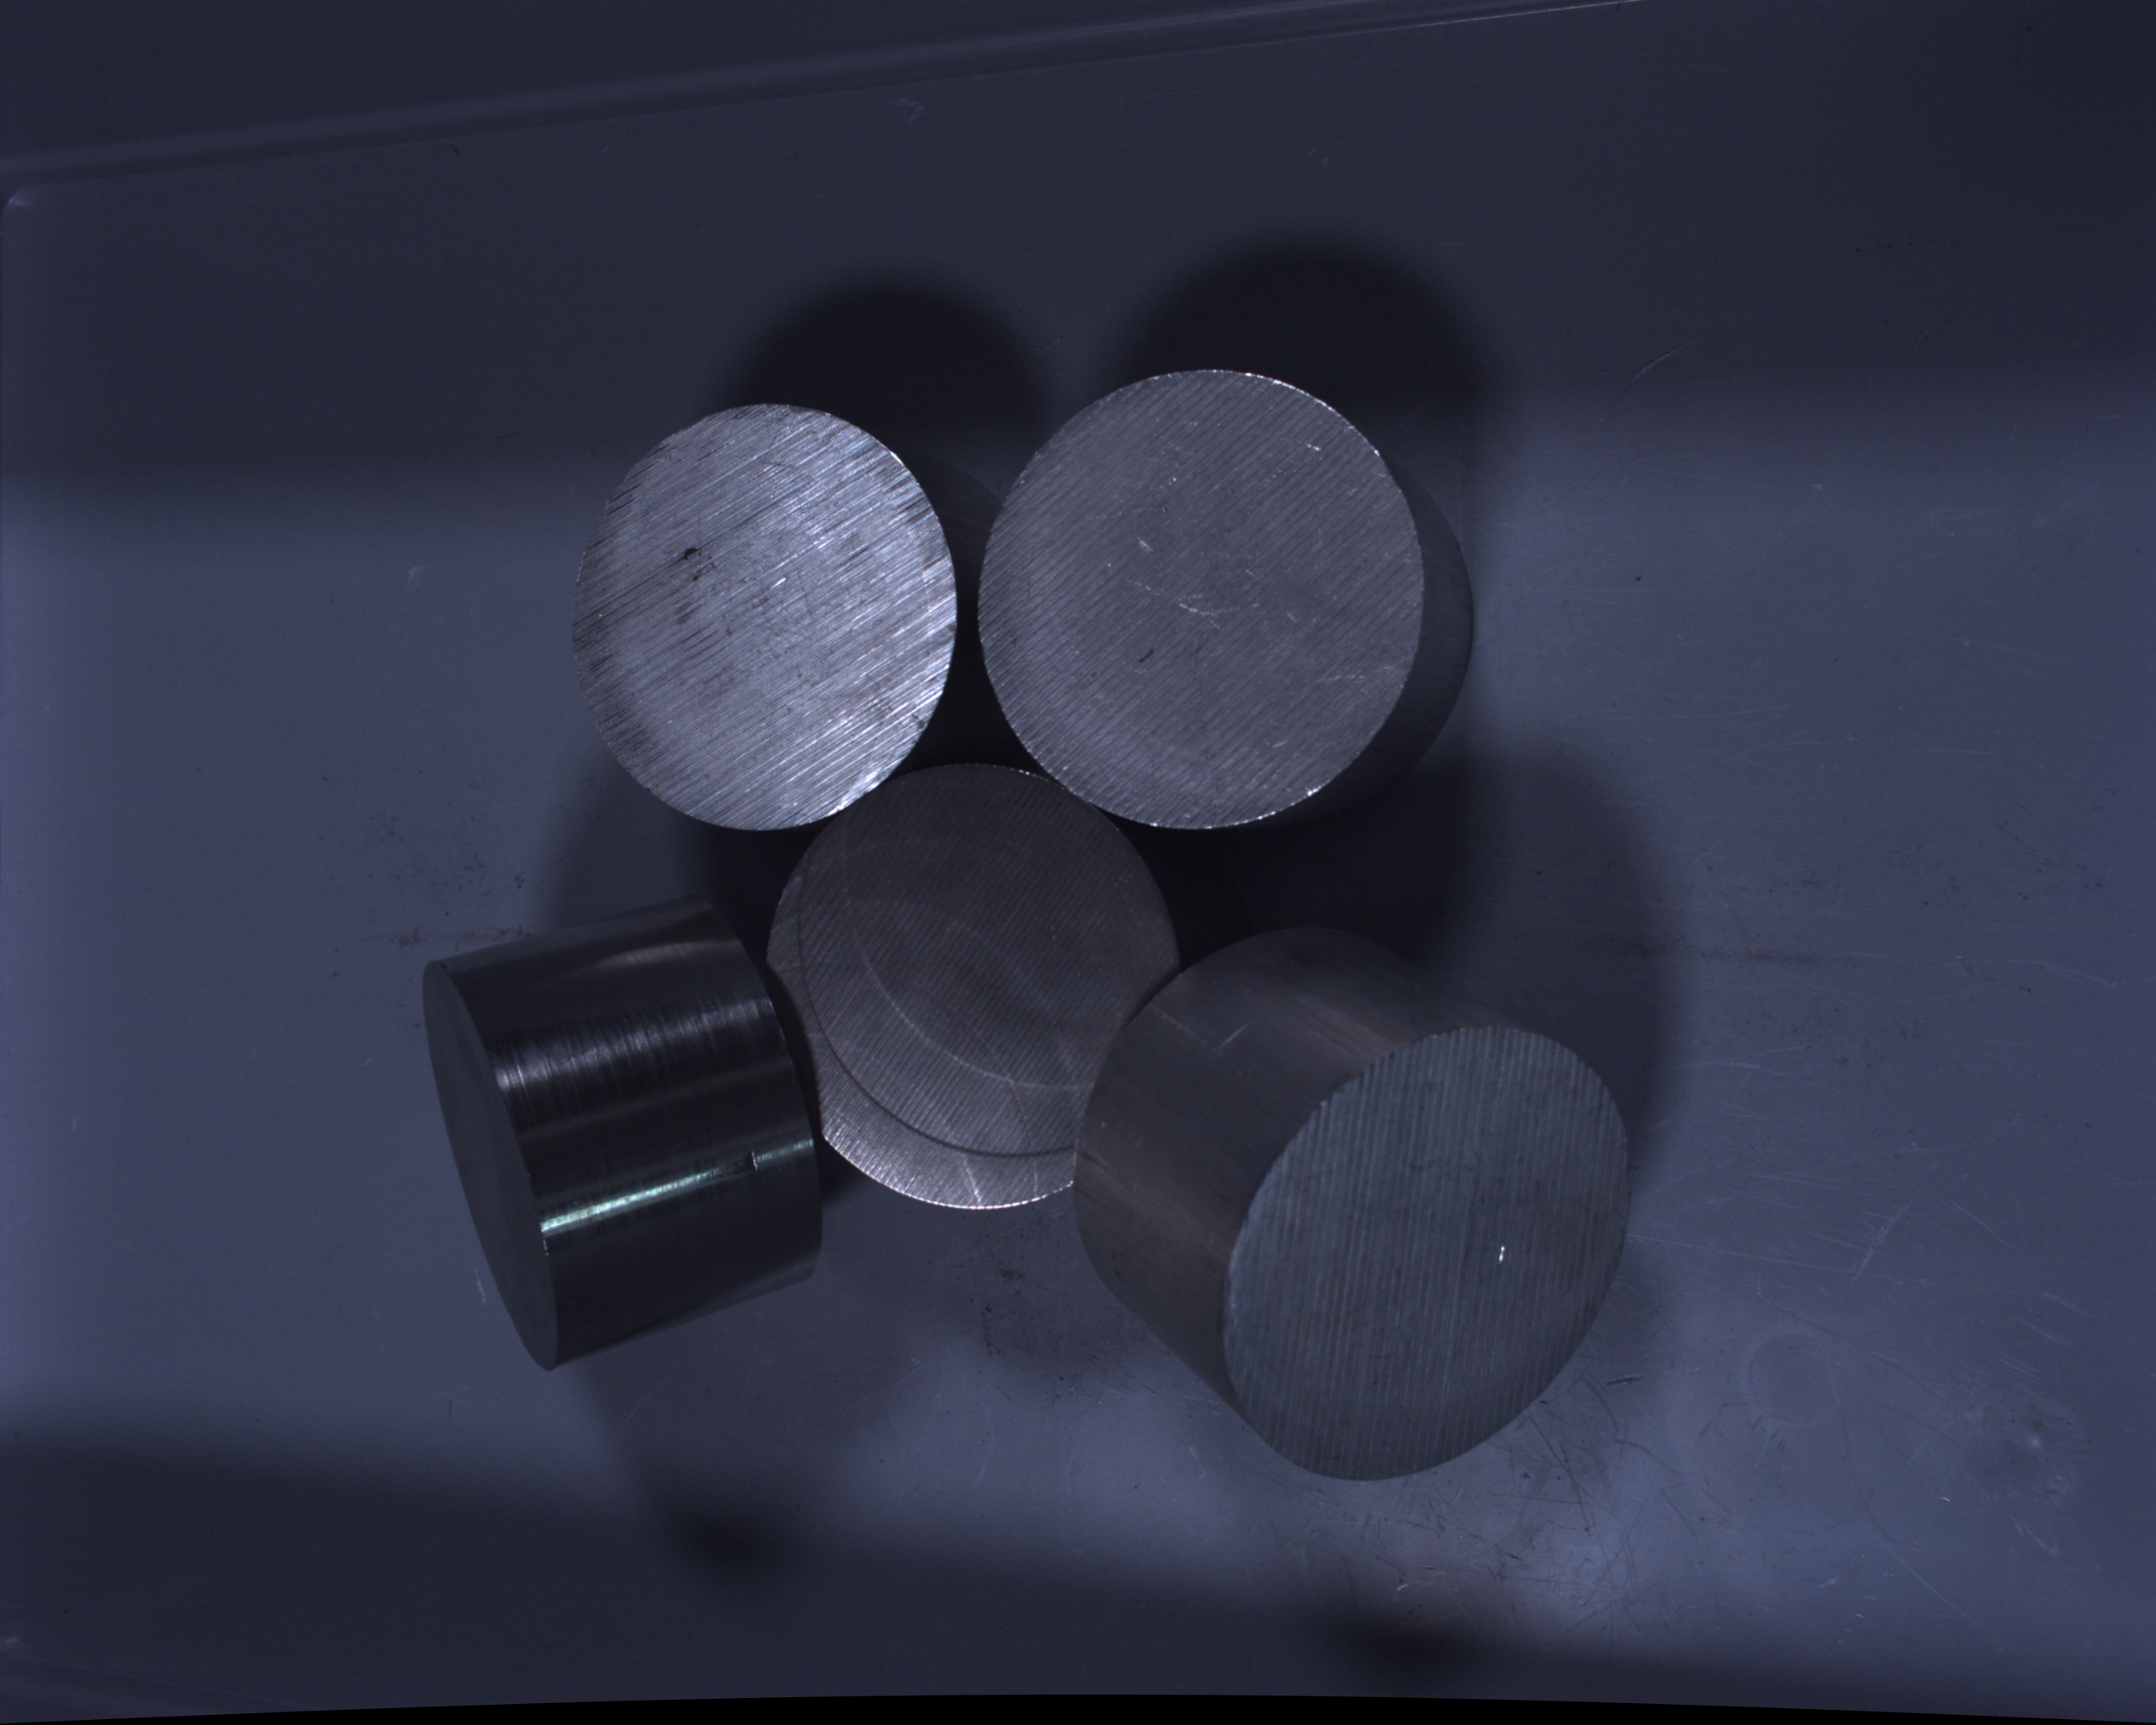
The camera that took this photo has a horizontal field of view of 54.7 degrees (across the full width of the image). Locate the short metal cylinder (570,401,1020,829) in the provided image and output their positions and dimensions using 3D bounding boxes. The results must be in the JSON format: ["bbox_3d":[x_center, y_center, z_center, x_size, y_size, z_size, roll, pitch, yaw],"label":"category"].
[{"bbox_3d":[-0.051,-0.046,0.412,0.080,0.050,0.079,0,90,19],"label":"short metal cylinder"}]

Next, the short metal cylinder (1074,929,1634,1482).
[{"bbox_3d":[0.047,0.057,0.356,0.050,0.081,0.080,30,103,57],"label":"short metal cylinder"}]

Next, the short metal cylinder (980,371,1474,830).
[{"bbox_3d":[0.029,-0.046,0.385,0.080,0.050,0.079,0,90,19],"label":"short metal cylinder"}]

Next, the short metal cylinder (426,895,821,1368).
[{"bbox_3d":[-0.089,0.051,0.404,0.050,0.080,0.080,-16,83,-26],"label":"short metal cylinder"}]

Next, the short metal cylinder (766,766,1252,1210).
[{"bbox_3d":[-0.011,0.022,0.397,0.080,0.050,0.079,0,90,19],"label":"short metal cylinder"}]
